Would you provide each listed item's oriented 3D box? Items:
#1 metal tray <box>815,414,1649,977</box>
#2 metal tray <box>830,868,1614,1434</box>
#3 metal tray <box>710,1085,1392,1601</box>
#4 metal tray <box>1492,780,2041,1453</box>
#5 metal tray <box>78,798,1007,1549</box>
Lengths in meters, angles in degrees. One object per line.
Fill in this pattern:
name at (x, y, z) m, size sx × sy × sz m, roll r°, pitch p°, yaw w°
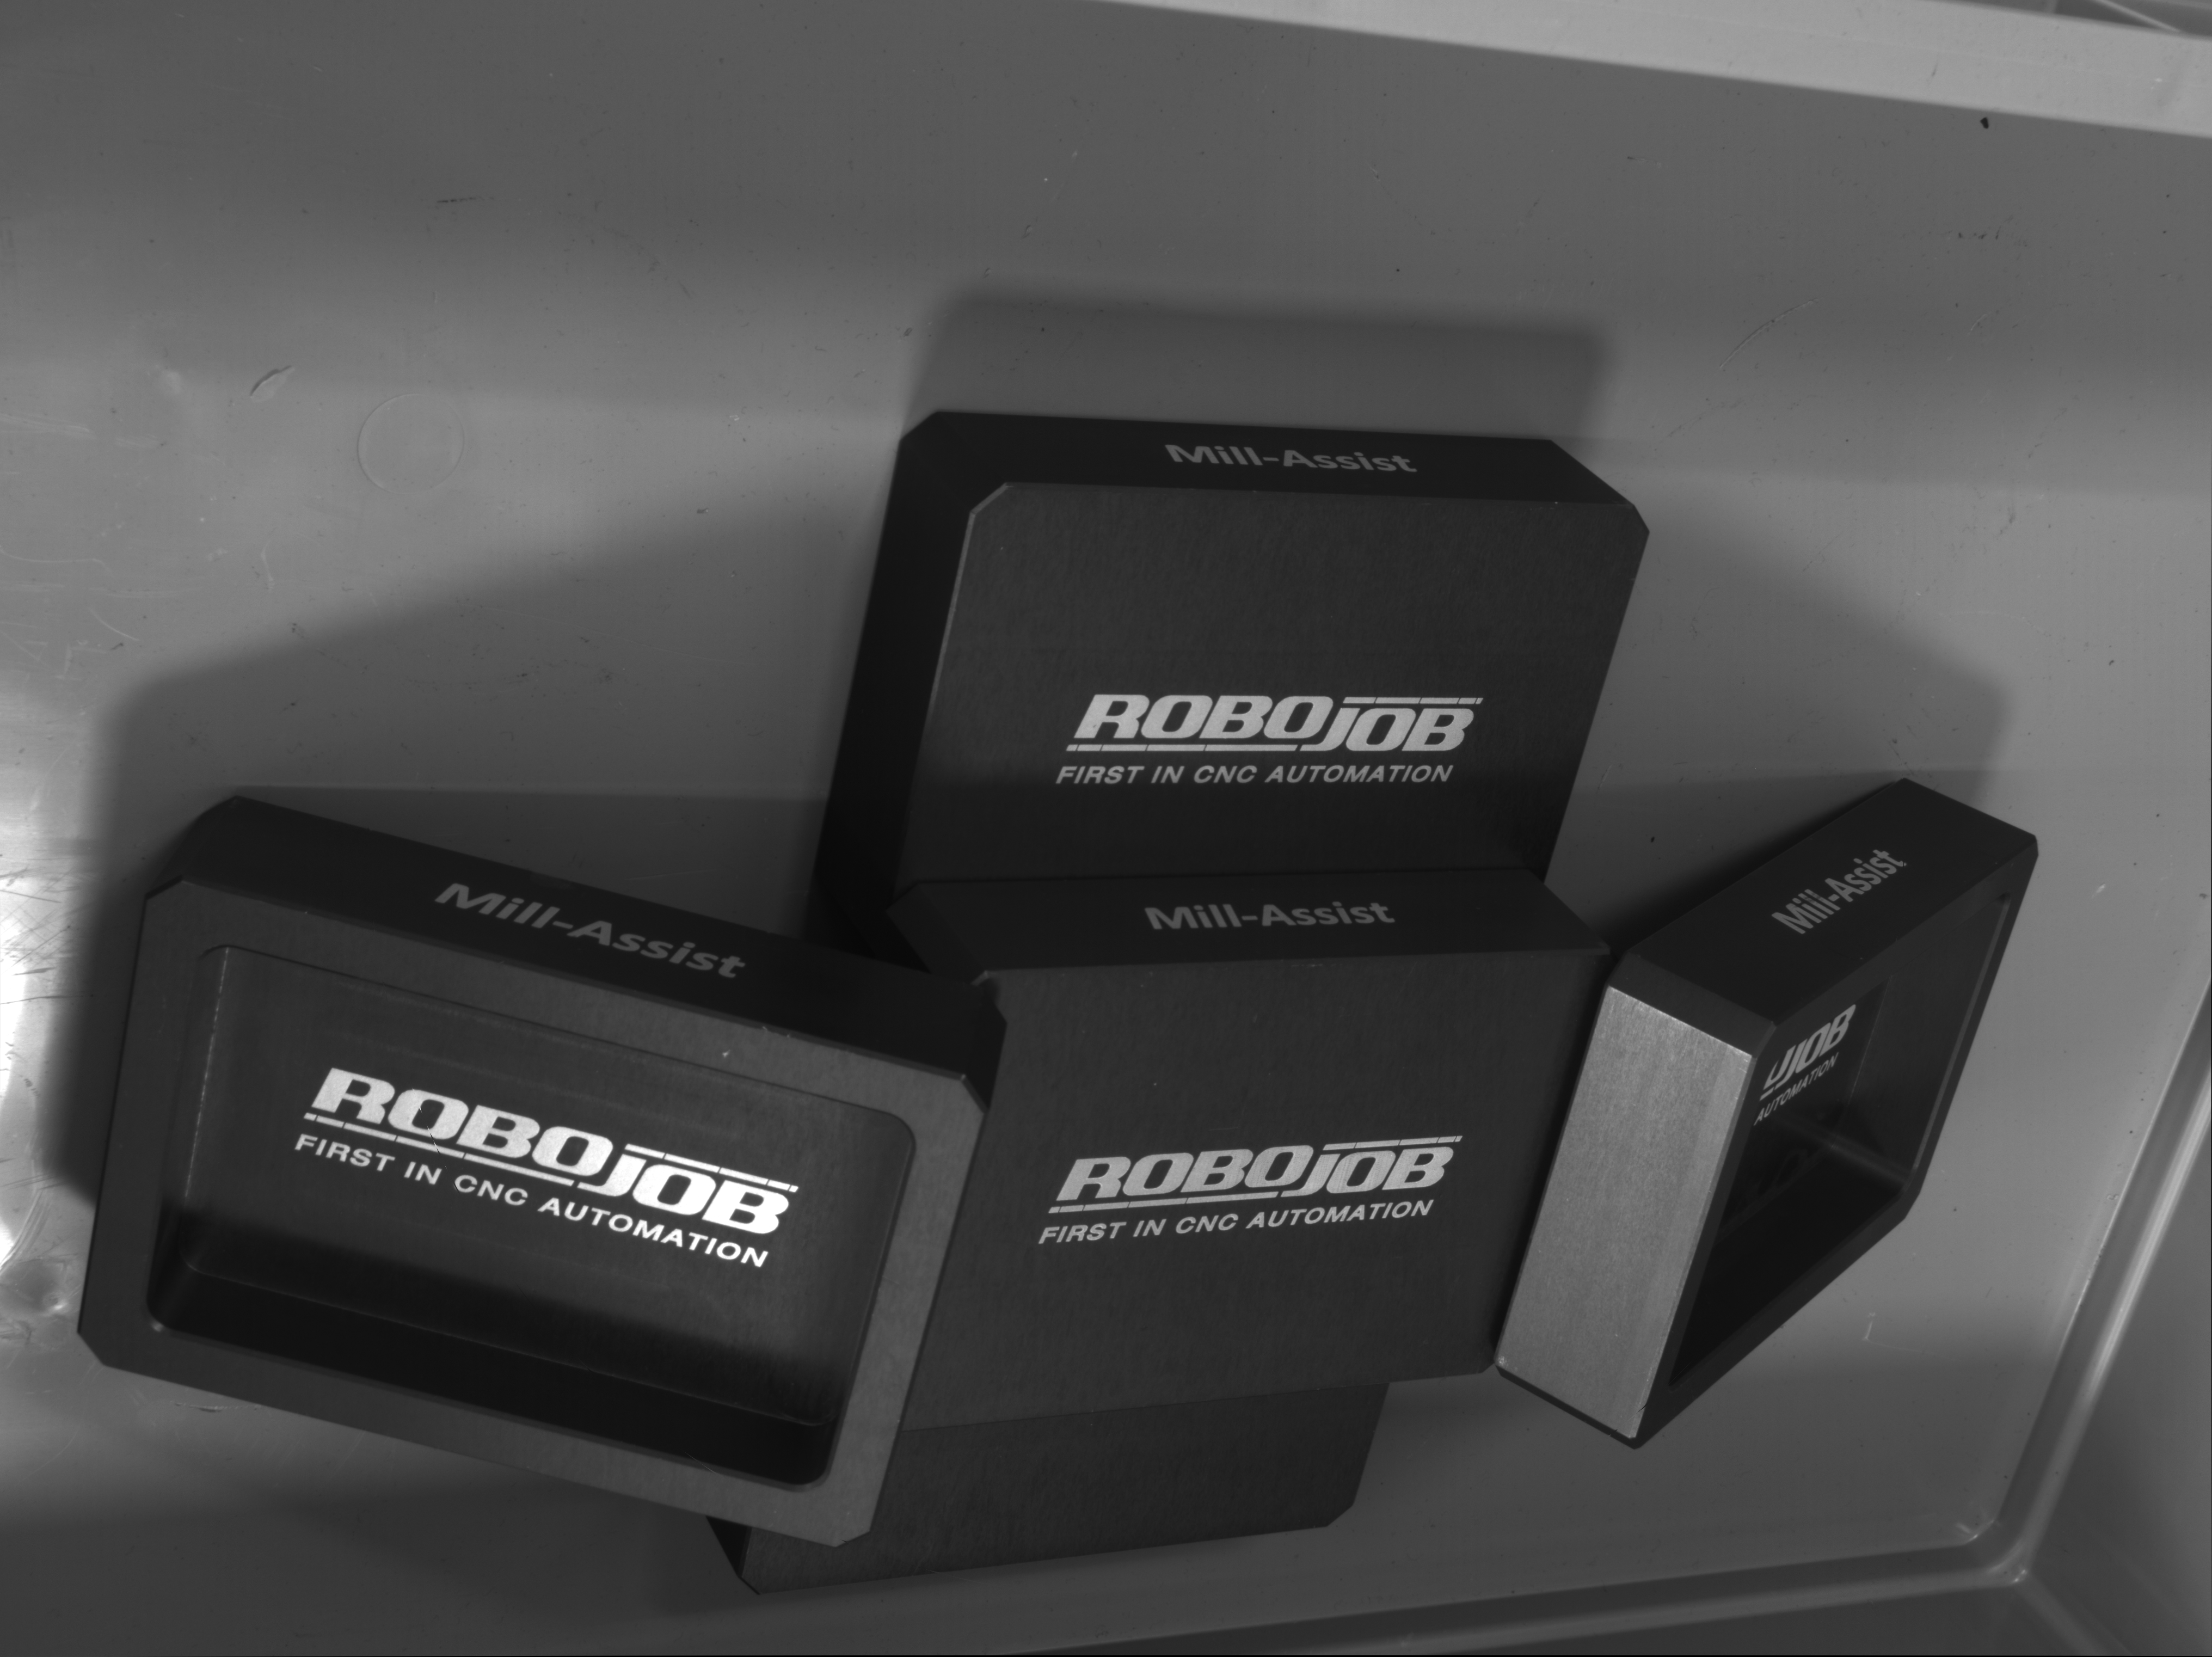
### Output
metal tray at (0.022, -0.021, 0.630) m, size 0.130 × 0.030 × 0.090 m, roll -1°, pitch 118°, yaw -28°
metal tray at (0.019, 0.055, 0.637) m, size 0.130 × 0.030 × 0.090 m, roll -1°, pitch 119°, yaw -28°
metal tray at (-0.006, 0.093, 0.684) m, size 0.130 × 0.030 × 0.090 m, roll -1°, pitch 118°, yaw -28°
metal tray at (0.126, 0.051, 0.691) m, size 0.130 × 0.030 × 0.090 m, roll -24°, pitch 134°, yaw -51°
metal tray at (-0.089, 0.055, 0.579) m, size 0.130 × 0.030 × 0.090 m, roll 14°, pitch 115°, yaw -2°
